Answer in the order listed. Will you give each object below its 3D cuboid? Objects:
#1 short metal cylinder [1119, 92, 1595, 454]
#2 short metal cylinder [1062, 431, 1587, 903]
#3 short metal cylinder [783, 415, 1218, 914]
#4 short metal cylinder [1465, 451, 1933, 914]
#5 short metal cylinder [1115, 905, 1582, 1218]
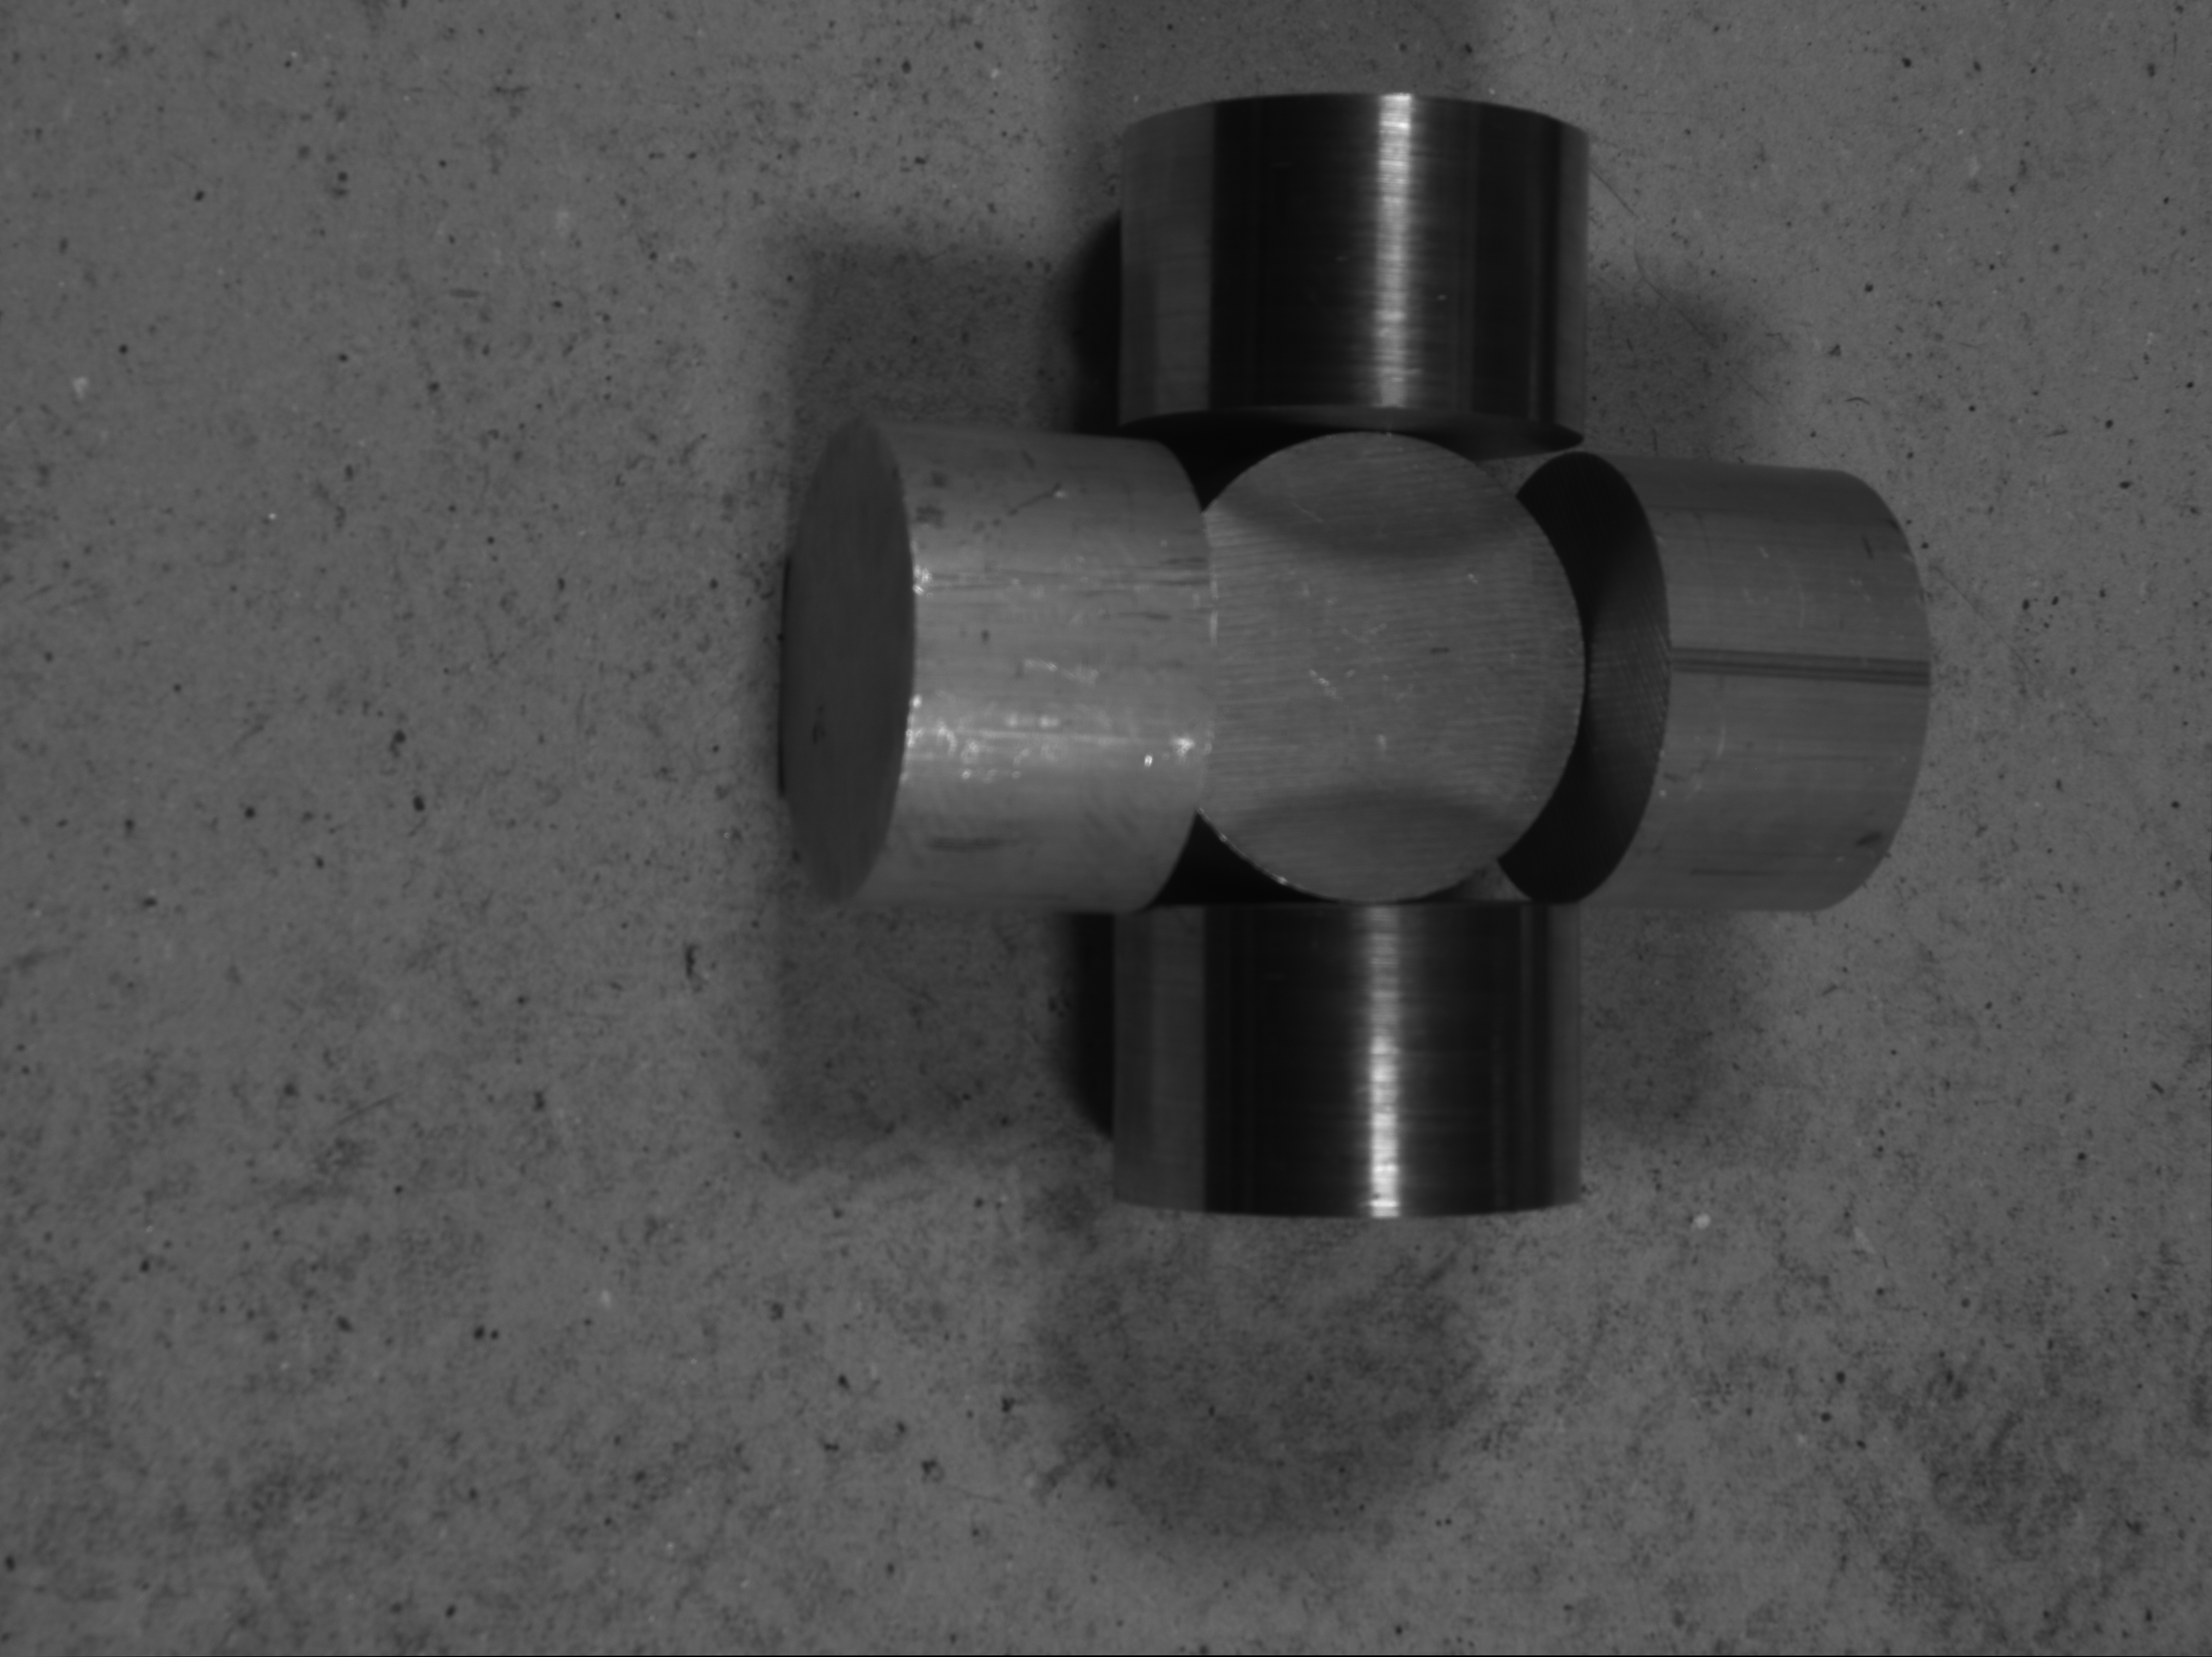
[{"bbox_3d":[0.043,-0.093,0.629,0.080,0.080,0.050,2,90,-20],"label":"short metal cylinder"},{"bbox_3d":[0.037,-0.027,0.644,0.080,0.050,0.080,0,90,-20],"label":"short metal cylinder"},{"bbox_3d":[-0.019,-0.027,0.608,0.050,0.080,0.080,2,89,-20],"label":"short metal cylinder"},{"bbox_3d":[0.104,-0.025,0.652,0.050,0.080,0.080,2,89,-20],"label":"short metal cylinder"},{"bbox_3d":[0.042,0.038,0.629,0.080,0.080,0.050,1,89,-20],"label":"short metal cylinder"}]
